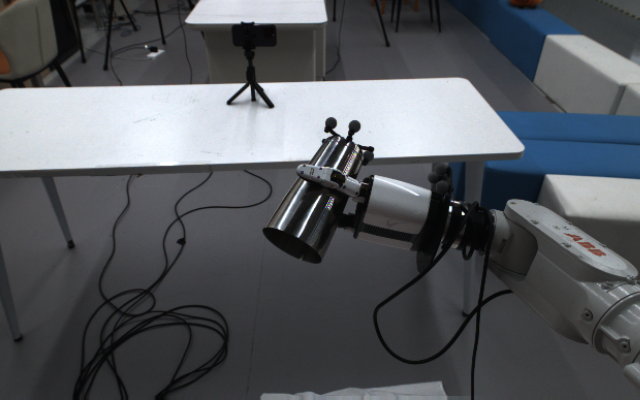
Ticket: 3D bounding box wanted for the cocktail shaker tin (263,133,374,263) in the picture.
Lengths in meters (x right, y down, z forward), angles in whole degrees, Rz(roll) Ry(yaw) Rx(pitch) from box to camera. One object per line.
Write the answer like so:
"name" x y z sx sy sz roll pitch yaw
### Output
"cocktail shaker tin" 0.001 -0.010 0.688 0.093 0.093 0.170 18 66 21
